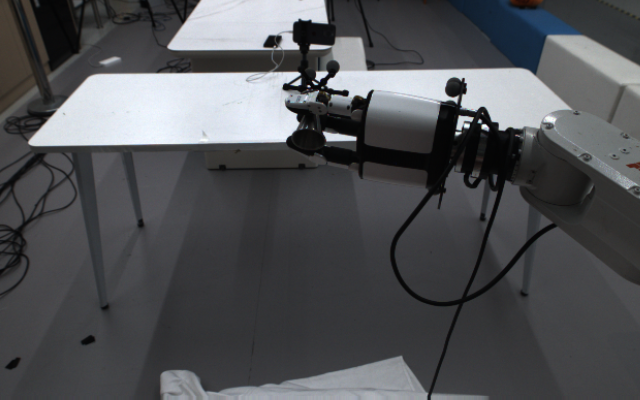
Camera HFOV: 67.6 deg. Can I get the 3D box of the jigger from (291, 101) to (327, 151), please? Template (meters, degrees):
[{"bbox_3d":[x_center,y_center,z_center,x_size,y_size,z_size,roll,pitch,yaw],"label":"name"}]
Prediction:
[{"bbox_3d":[-0.013,-0.105,0.628,0.043,0.043,0.071,5,60,4],"label":"jigger"}]
